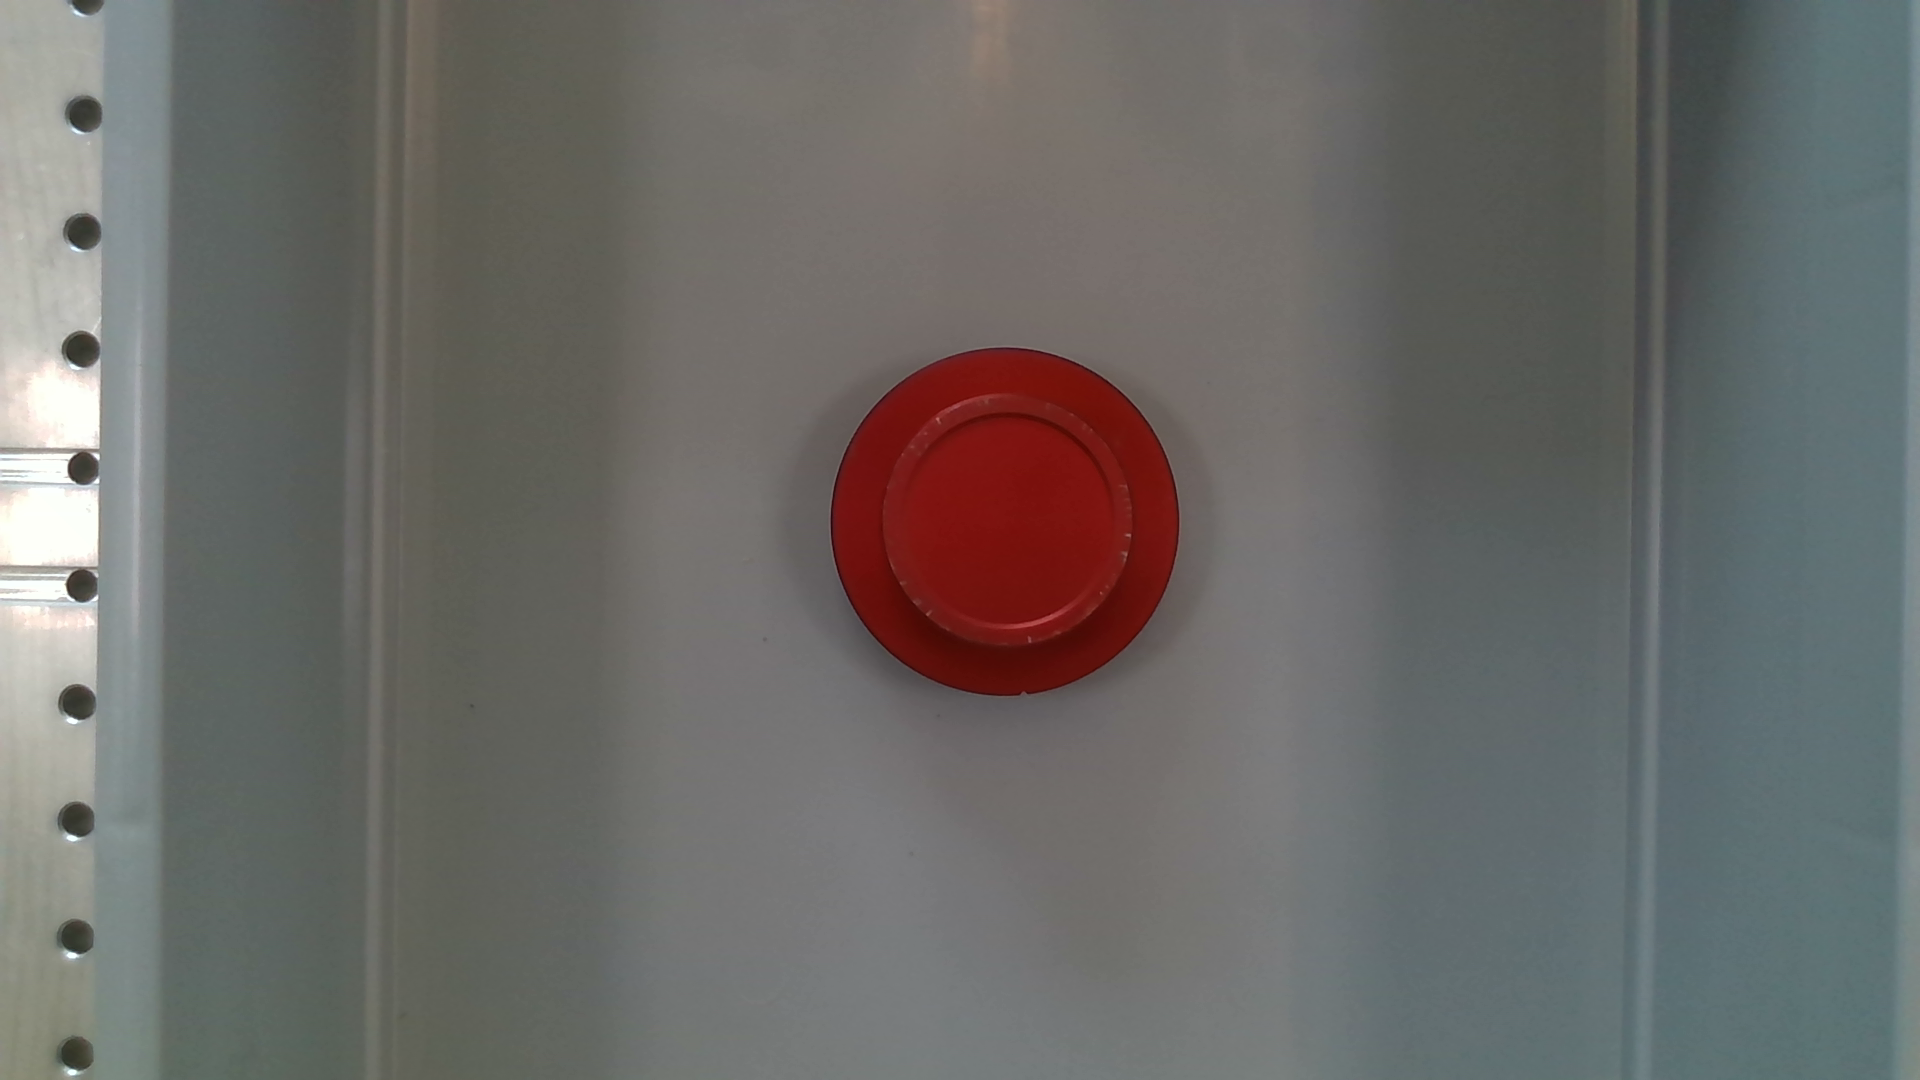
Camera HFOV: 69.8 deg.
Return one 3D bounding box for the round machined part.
[{"bbox_3d":[0.012,-0.005,0.384,0.098,0.042,0.098,0,90,0],"label":"round machined part"}]
